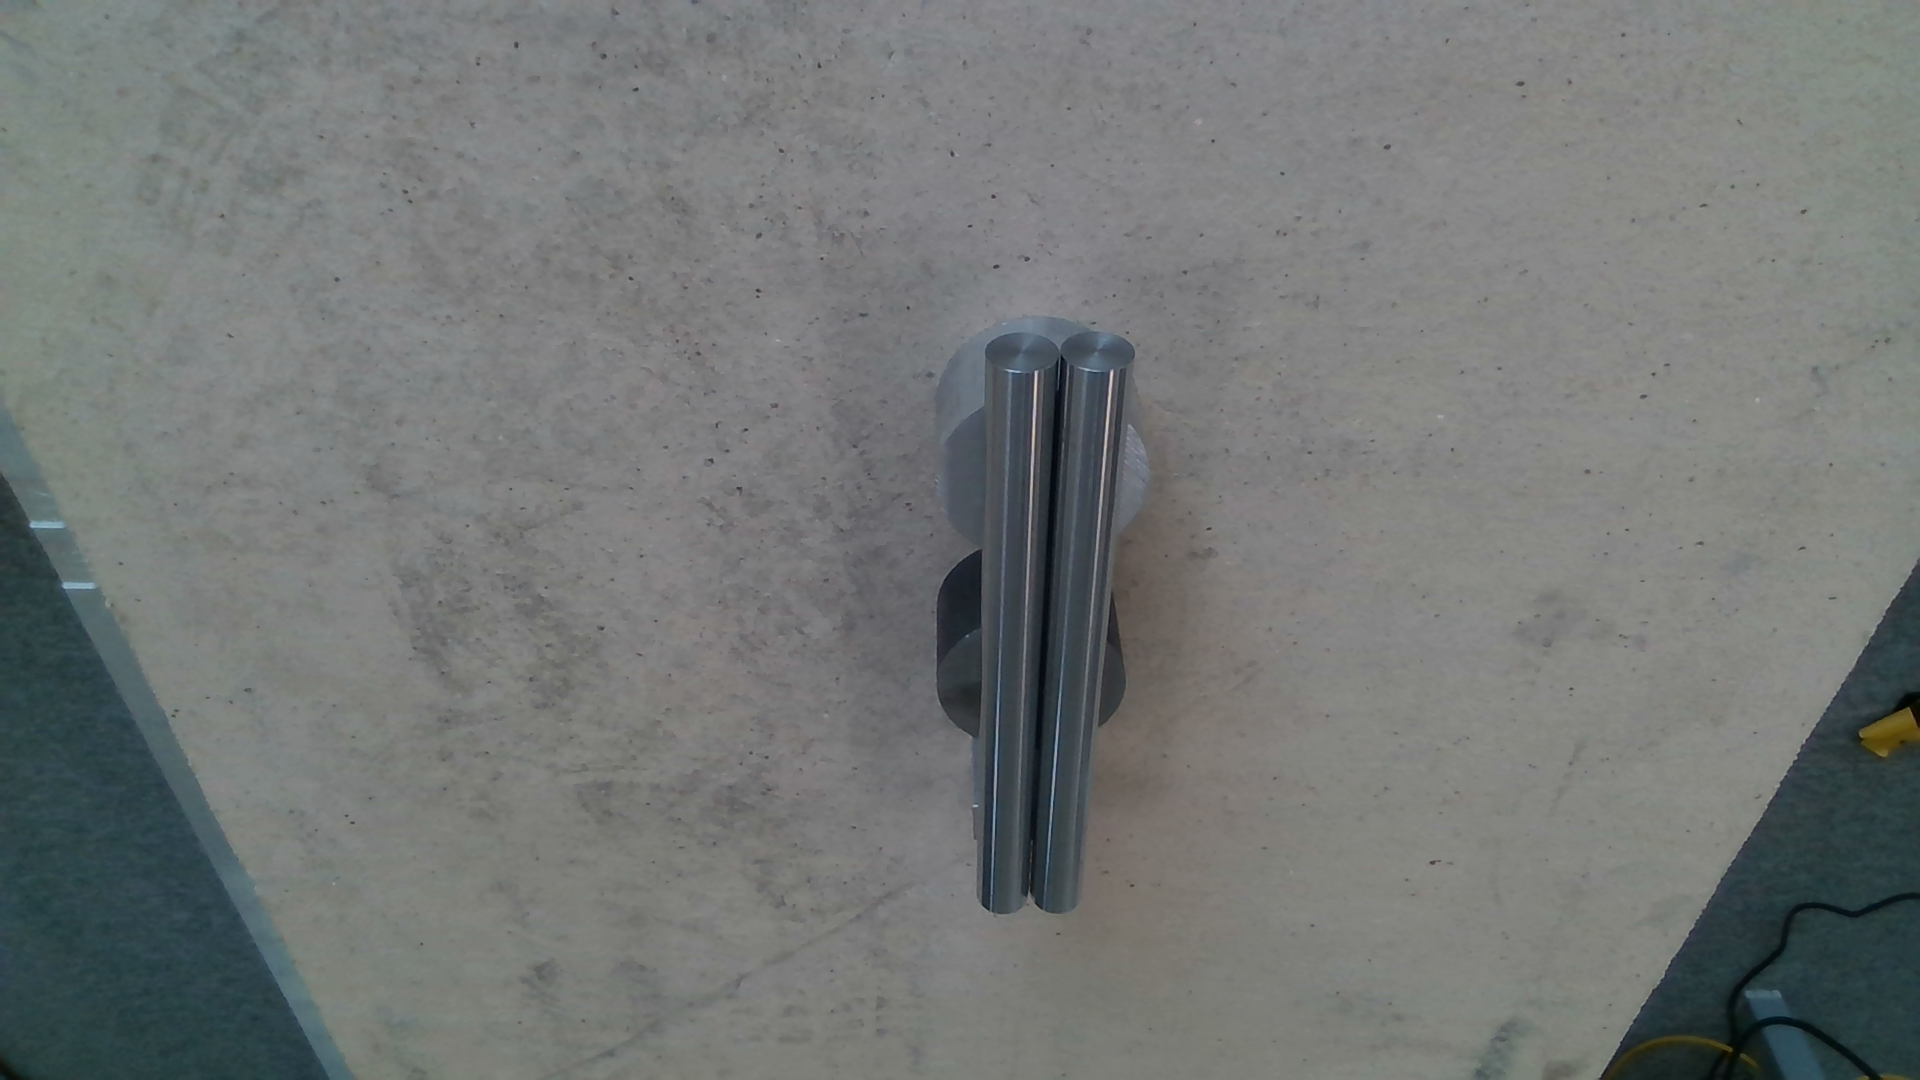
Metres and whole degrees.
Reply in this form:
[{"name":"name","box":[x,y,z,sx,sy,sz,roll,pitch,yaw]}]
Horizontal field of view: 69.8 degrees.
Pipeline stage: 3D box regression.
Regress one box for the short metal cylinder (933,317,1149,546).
[{"name":"short metal cylinder","box":[0.030,-0.038,0.530,0.080,0.050,0.080,0,130,0]}]

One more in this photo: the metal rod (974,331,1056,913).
[{"name":"metal rod","box":[0.019,0.052,0.557,0.025,0.025,0.301,0,130,0]}]

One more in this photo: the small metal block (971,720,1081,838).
[{"name":"small metal block","box":[0.031,0.114,0.661,0.050,0.050,0.025,-2,130,1]}]

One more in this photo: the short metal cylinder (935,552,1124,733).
[{"name":"short metal cylinder","box":[0.029,0.045,0.602,0.080,0.050,0.080,0,130,0]}]

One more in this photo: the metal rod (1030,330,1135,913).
[{"name":"metal rod","box":[0.045,0.052,0.557,0.025,0.025,0.301,0,130,0]}]
